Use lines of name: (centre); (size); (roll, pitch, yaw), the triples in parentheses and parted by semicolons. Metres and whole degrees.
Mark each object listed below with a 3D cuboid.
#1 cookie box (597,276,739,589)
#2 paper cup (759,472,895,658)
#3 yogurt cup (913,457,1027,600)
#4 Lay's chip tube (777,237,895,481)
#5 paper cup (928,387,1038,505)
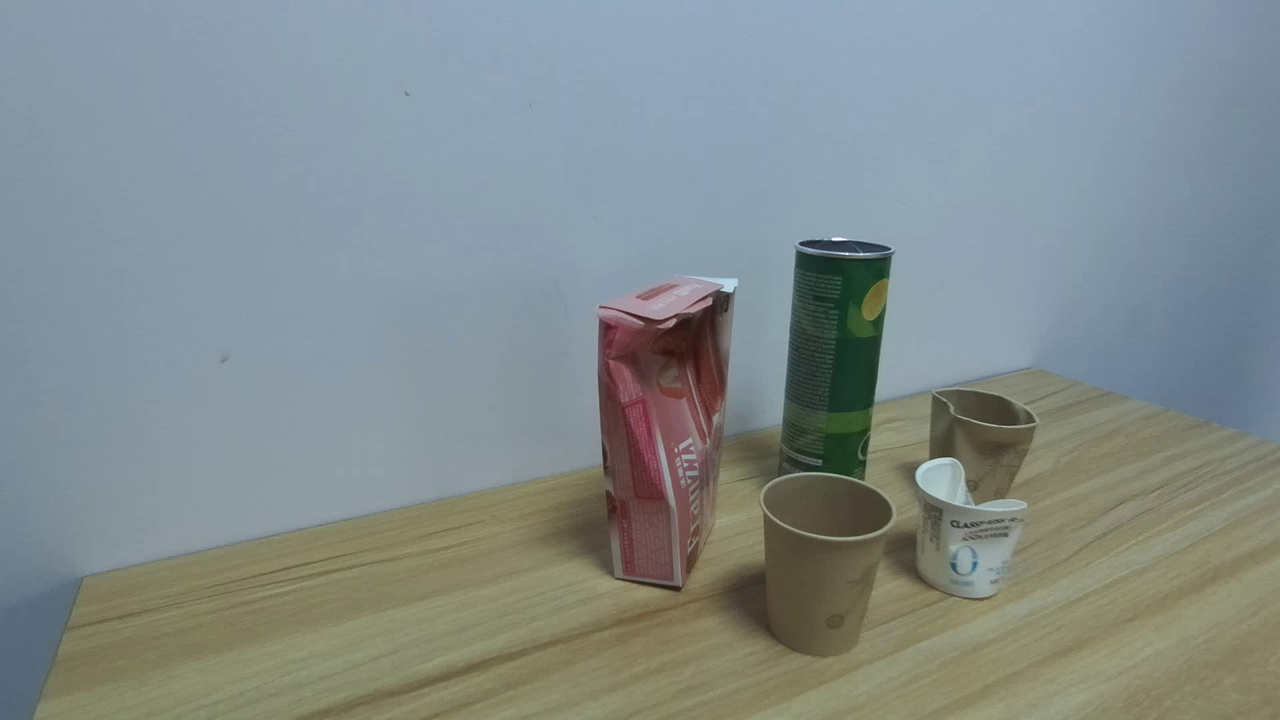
cookie box: (0.020, 0.045, 0.458); (0.055, 0.184, 0.119); (10, 22, 25)
paper cup: (0.102, 0.117, 0.402); (0.075, 0.082, 0.075); (1, 19, 0)
yogurt cup: (0.206, 0.110, 0.454); (0.067, 0.070, 0.067); (1, 21, 0)
Lay's chip tube: (0.144, 0.013, 0.533); (0.071, 0.202, 0.071); (1, 18, 0)
paper cup: (0.261, 0.073, 0.550); (0.066, 0.084, 0.071); (2, 18, 4)
